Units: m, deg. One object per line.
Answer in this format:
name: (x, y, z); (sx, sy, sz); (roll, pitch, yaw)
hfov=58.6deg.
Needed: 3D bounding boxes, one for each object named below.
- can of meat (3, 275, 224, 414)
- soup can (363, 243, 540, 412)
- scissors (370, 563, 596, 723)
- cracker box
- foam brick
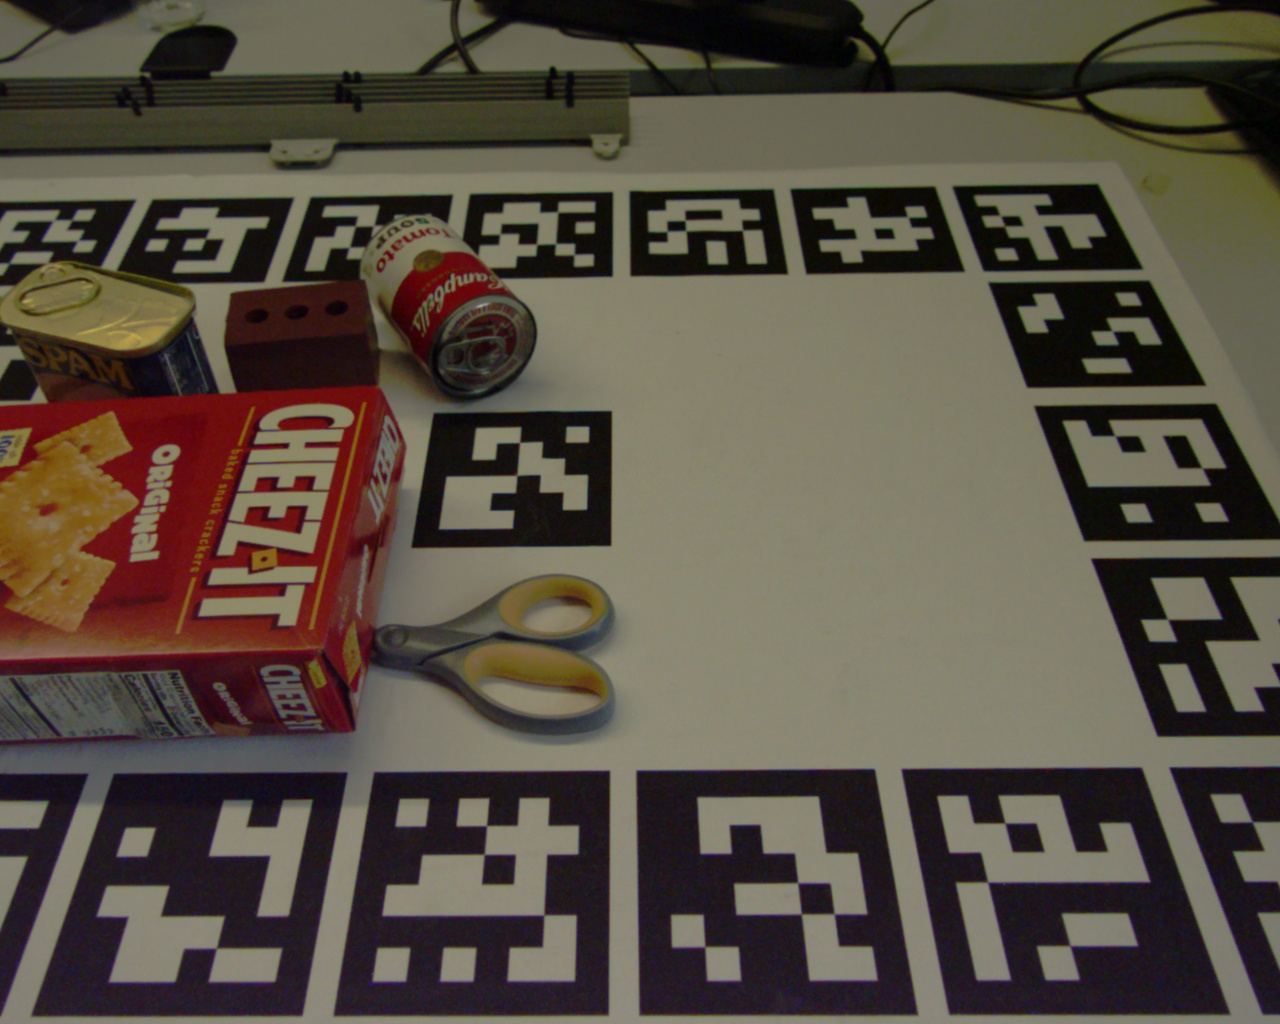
can of meat: (-0.294, -0.080, 0.652); (0.102, 0.083, 0.058); (11, 51, 9)
soup can: (-0.118, -0.115, 0.702); (0.067, 0.067, 0.103); (-31, 50, -23)
scissors: (-0.124, 0.067, 0.553); (0.202, 0.016, 0.088); (-4, 50, -2)
cracker box: (-0.240, 0.021, 0.554); (0.213, 0.071, 0.165); (-7, 49, 0)
foam brick: (-0.199, -0.093, 0.686); (0.078, 0.051, 0.053); (-8, 50, -7)
